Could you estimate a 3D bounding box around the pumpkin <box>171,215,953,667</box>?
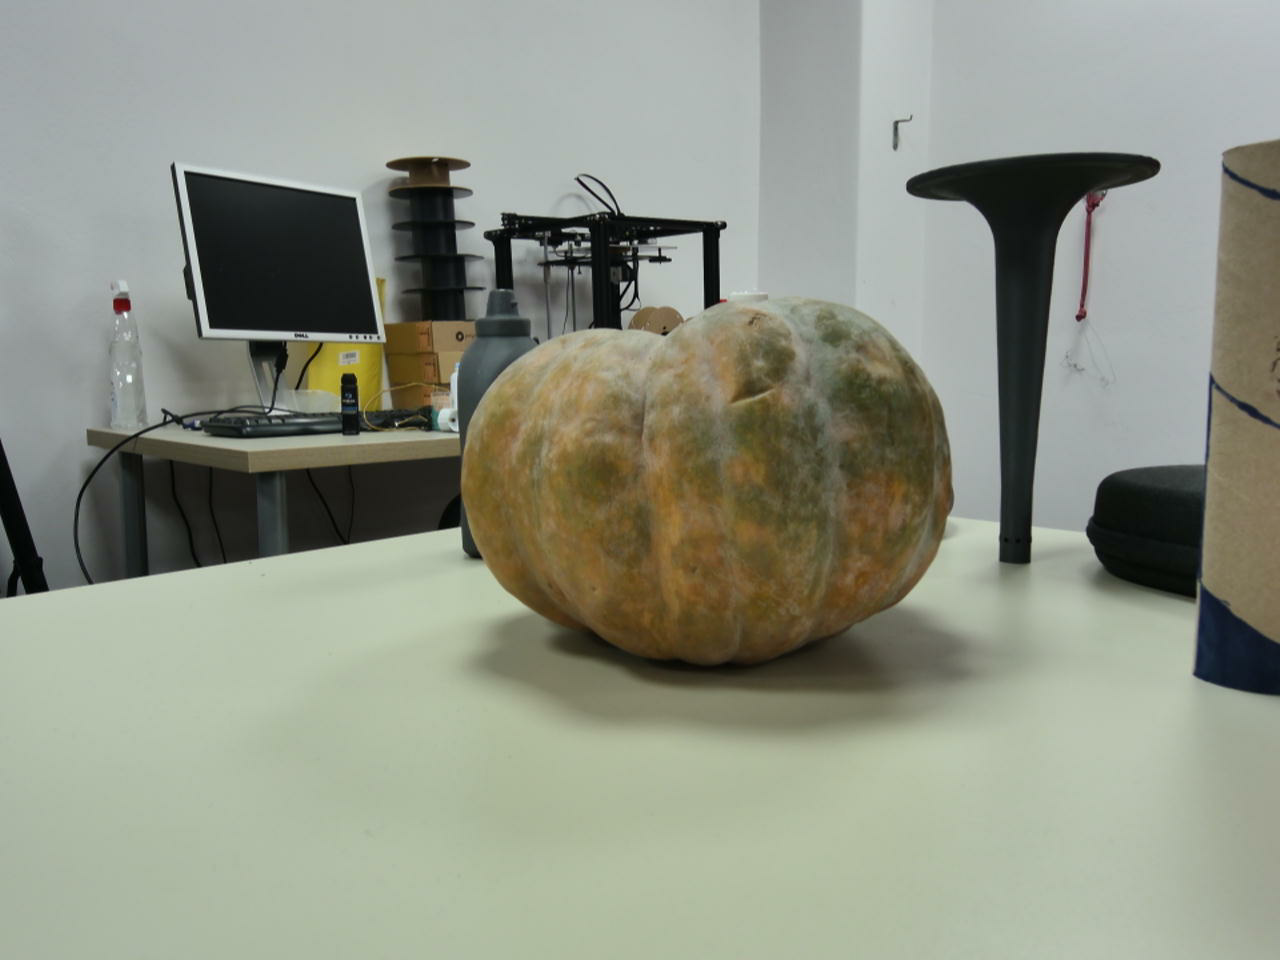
[{"bbox_3d":[0.035,-0.002,0.511,0.252,0.168,0.252,0,5,0],"label":"pumpkin"}]
